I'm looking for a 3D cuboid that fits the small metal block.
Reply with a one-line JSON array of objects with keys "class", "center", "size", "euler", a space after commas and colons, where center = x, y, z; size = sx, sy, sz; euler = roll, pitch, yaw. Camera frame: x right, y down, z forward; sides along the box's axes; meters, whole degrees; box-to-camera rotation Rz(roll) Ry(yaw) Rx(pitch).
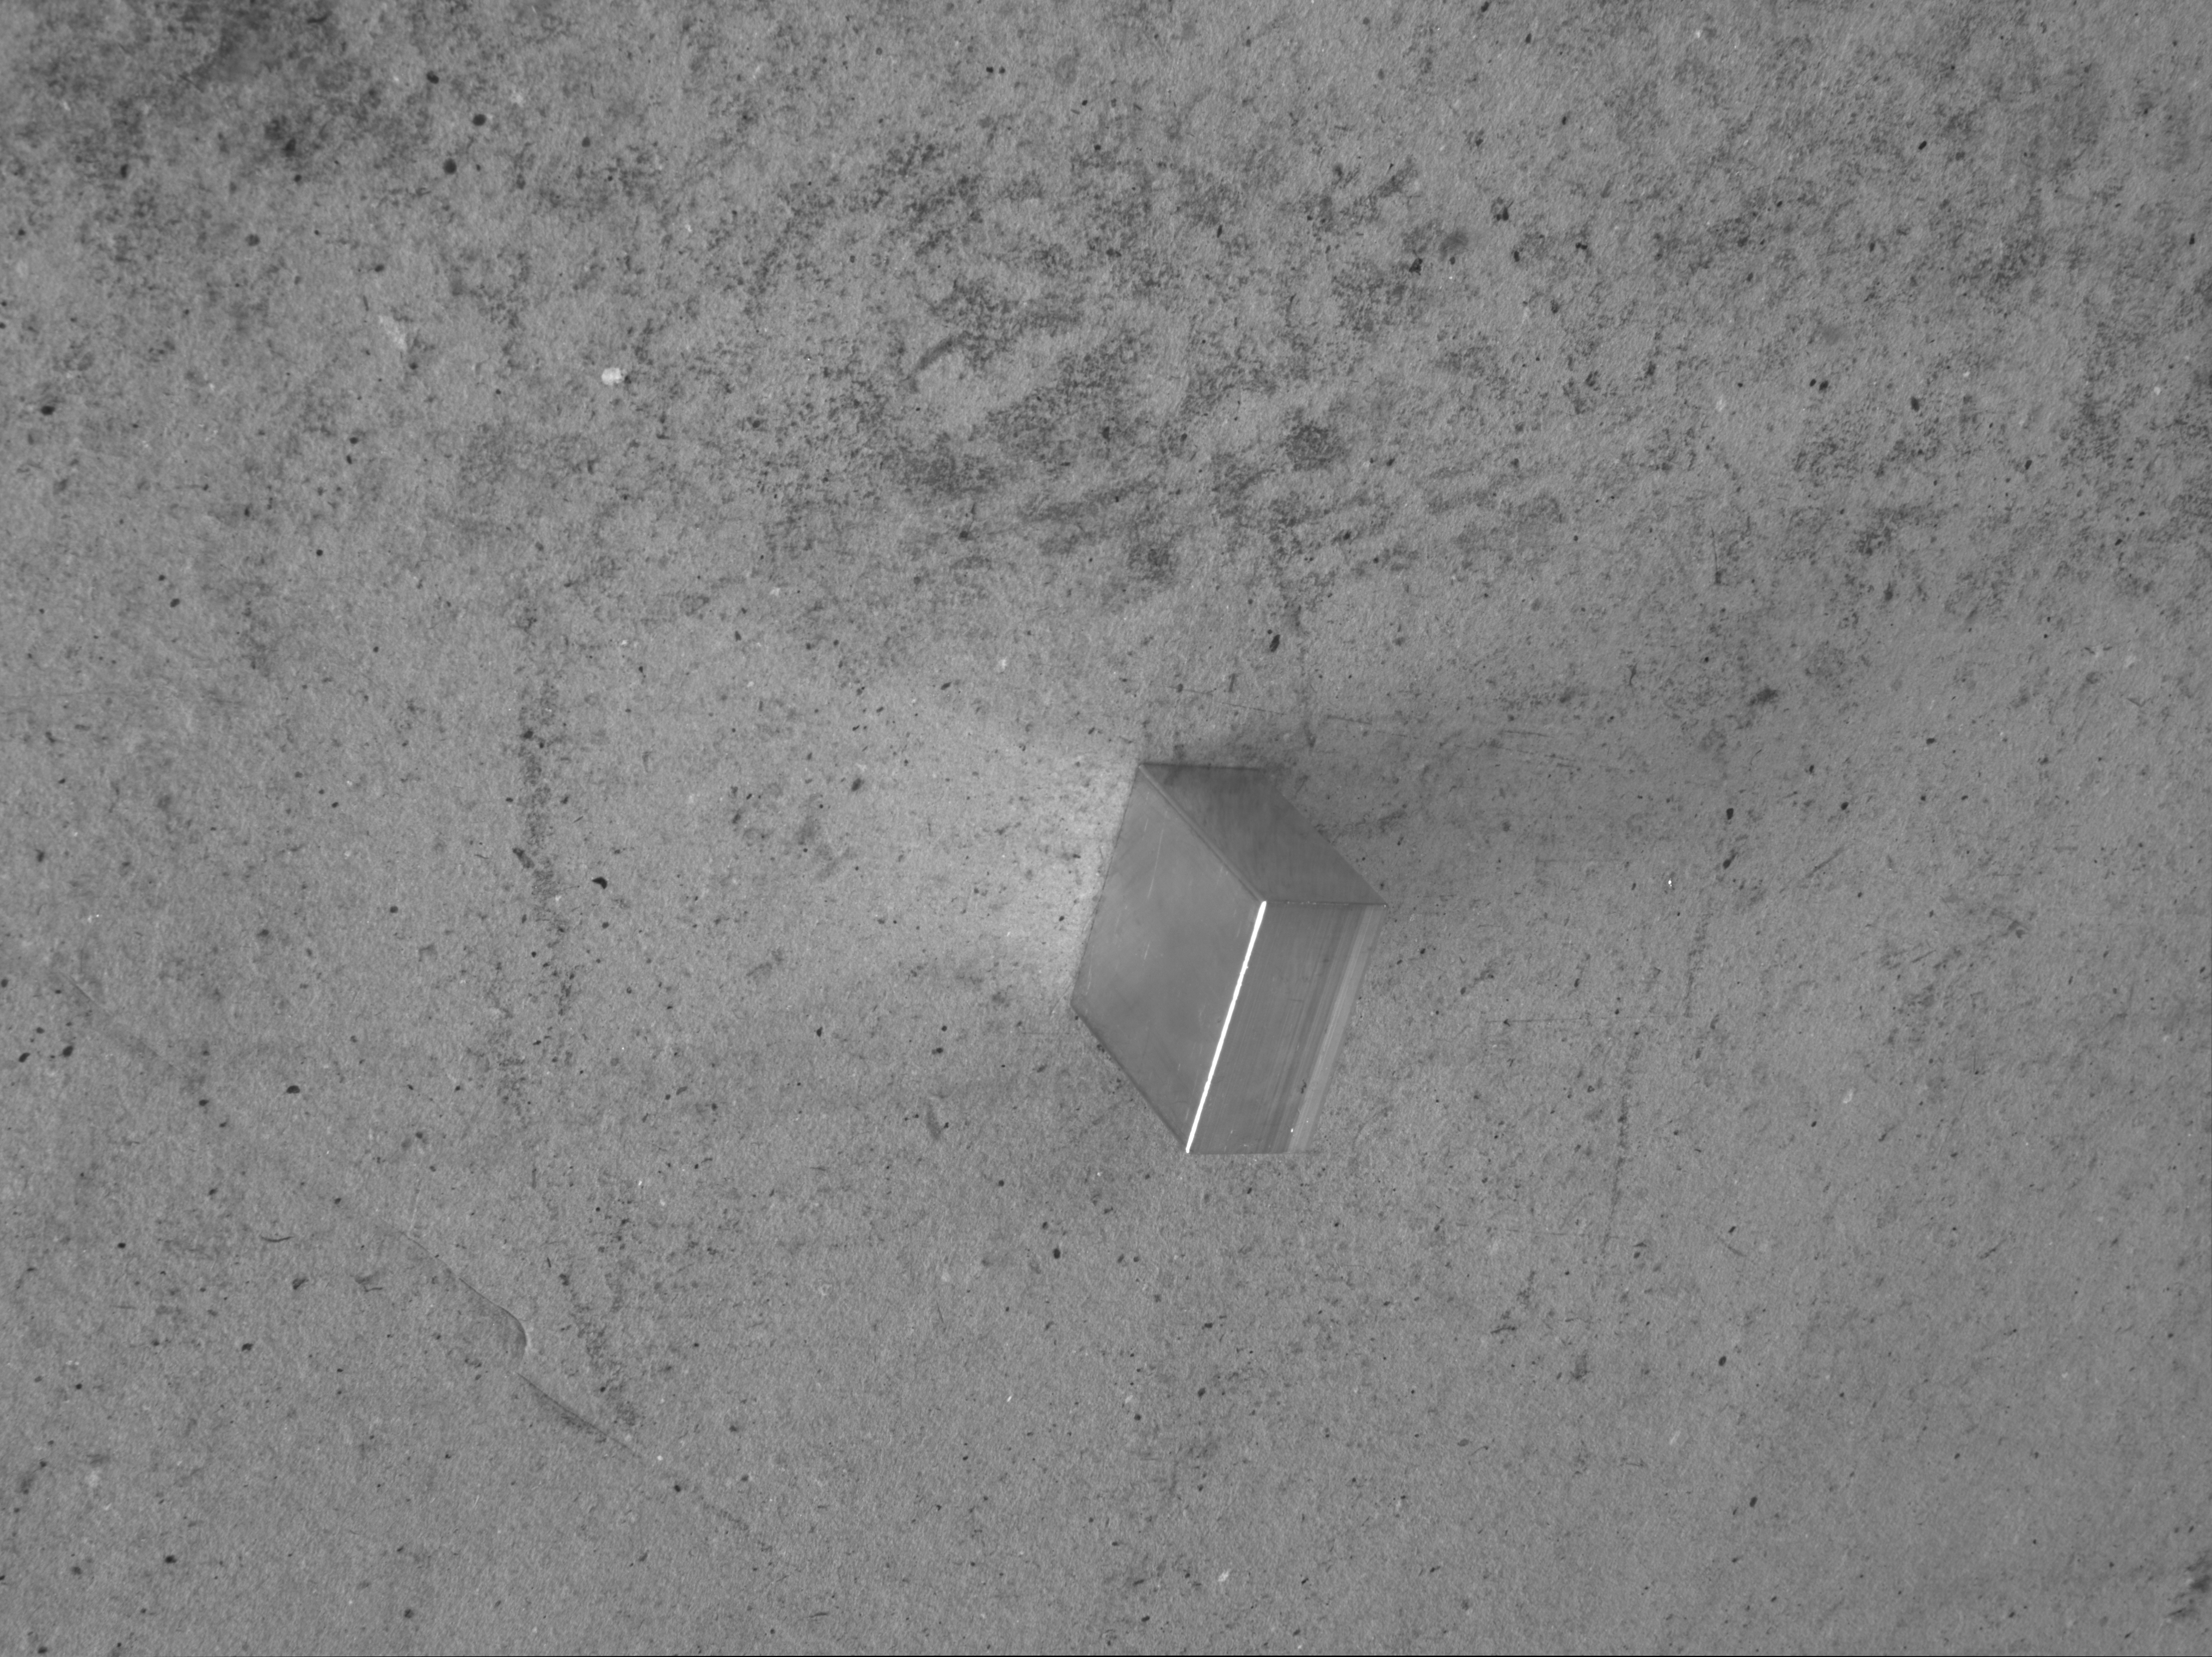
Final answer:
[{"class": "small metal block", "center": [0.020, 0.023, 0.647], "size": [0.025, 0.050, 0.050], "euler": [2, 118, -30]}]
